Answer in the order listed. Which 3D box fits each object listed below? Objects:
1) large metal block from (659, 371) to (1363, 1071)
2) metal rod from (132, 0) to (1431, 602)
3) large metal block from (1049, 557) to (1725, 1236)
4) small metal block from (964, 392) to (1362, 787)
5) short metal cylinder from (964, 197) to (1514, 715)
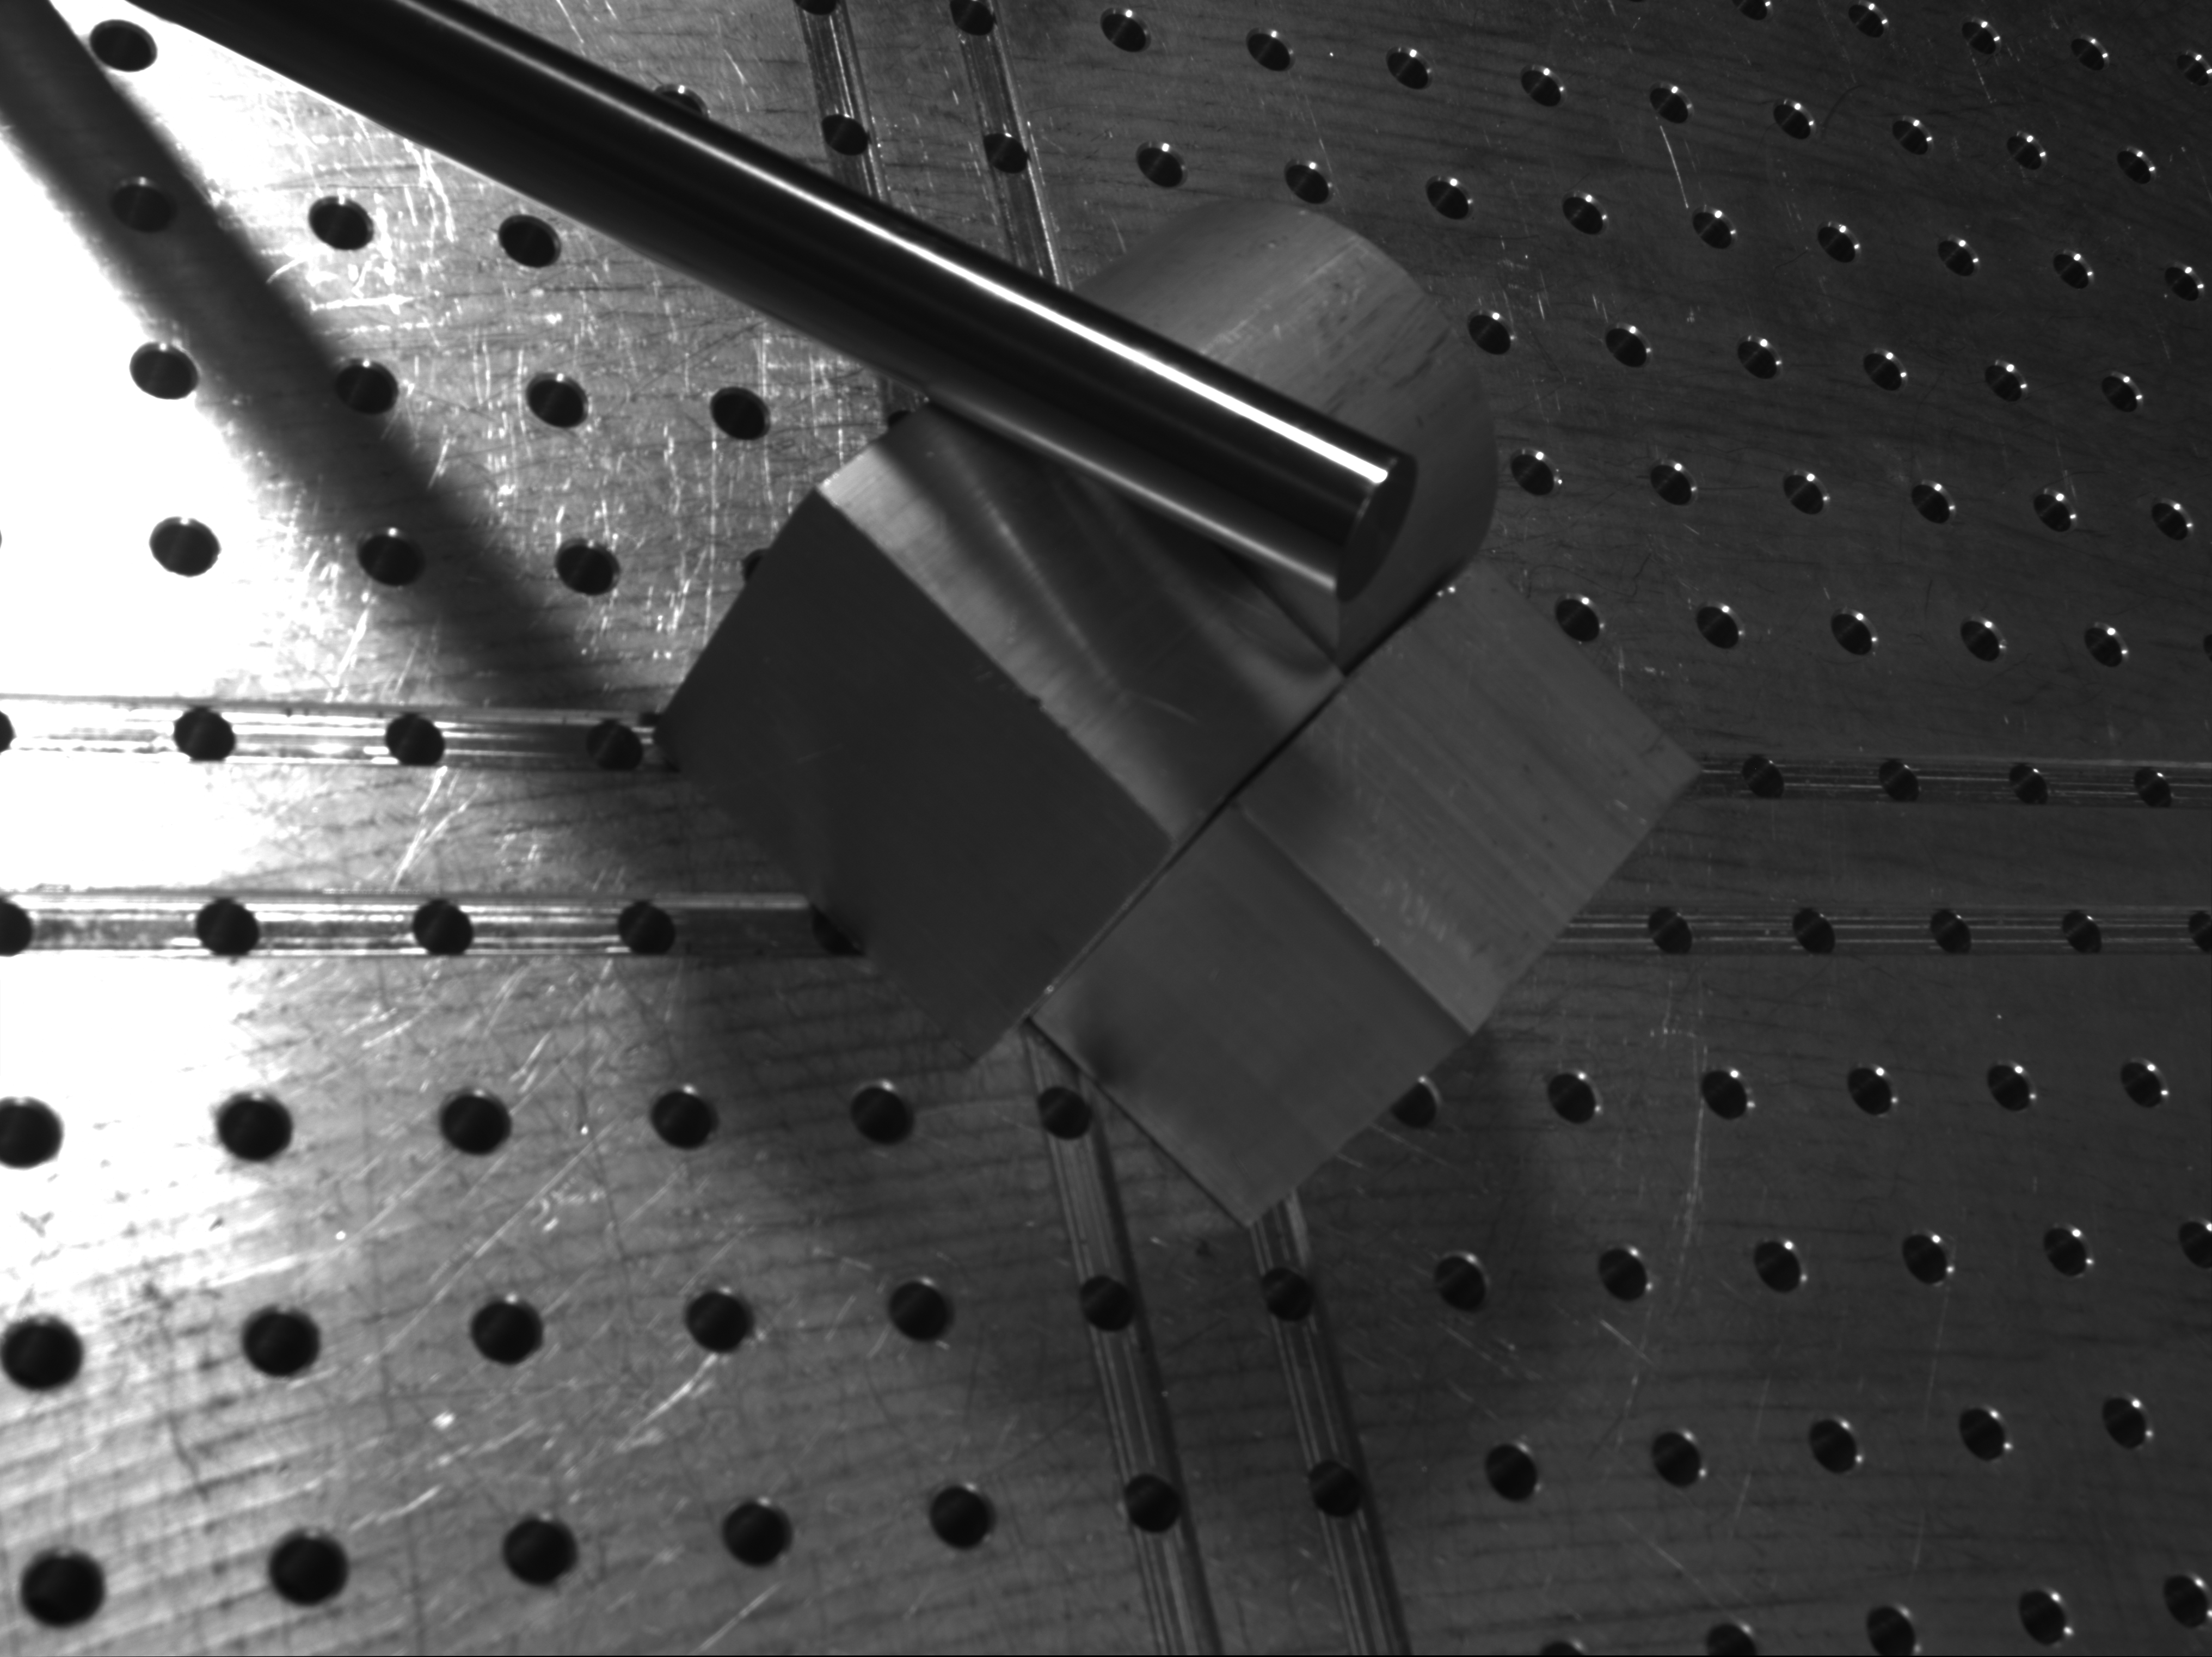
[{"bbox_3d":[-0.017,-0.019,0.611,0.080,0.080,0.050,44,51,3],"label":"large metal block"},{"bbox_3d":[-0.084,-0.112,0.599,0.300,0.025,0.025,28,49,17],"label":"metal rod"},{"bbox_3d":[0.047,0.012,0.623,0.050,0.080,0.080,44,51,3],"label":"large metal block"},{"bbox_3d":[0.011,-0.044,0.677,0.050,0.025,0.050,41,51,0],"label":"small metal block"},{"bbox_3d":[0.022,-0.060,0.623,0.080,0.080,0.050,45,51,3],"label":"short metal cylinder"}]
